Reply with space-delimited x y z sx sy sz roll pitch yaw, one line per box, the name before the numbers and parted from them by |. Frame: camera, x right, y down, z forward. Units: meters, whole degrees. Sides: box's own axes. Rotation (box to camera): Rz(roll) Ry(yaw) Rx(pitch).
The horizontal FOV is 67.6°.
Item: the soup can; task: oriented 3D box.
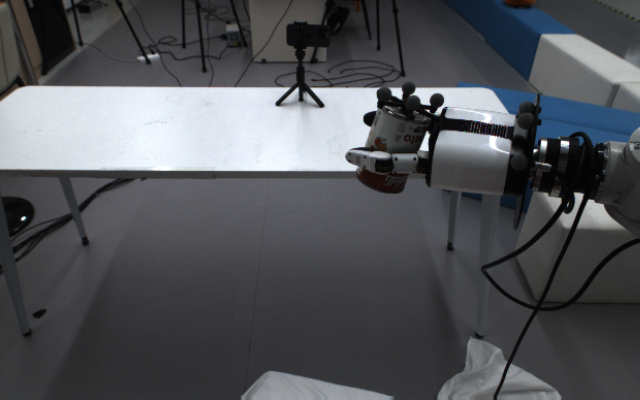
soup can | 0.093 -0.068 0.611 0.067 0.101 0.067 13 30 -8
